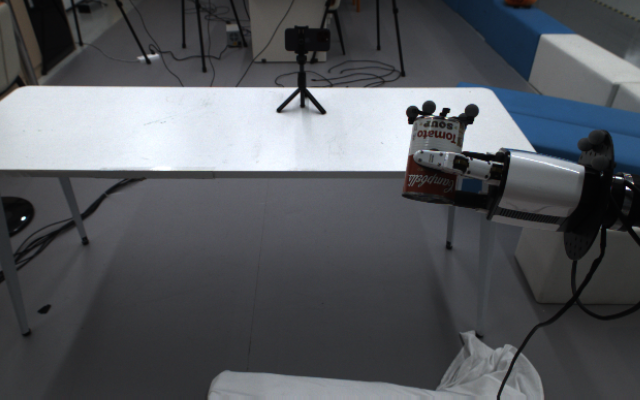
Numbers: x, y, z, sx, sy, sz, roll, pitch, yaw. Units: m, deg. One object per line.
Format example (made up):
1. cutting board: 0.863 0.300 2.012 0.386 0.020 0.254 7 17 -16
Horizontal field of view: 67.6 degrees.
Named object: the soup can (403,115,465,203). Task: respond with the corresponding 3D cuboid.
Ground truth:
1. soup can: 0.147 -0.053 0.626 0.067 0.101 0.067 9 -5 1
